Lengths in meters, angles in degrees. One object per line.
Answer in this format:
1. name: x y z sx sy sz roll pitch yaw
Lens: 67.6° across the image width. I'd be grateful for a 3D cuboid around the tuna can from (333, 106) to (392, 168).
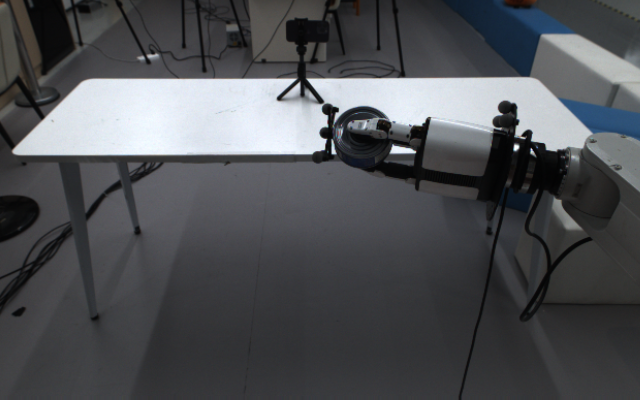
1. tuna can: 0.064 -0.088 0.690 0.085 0.034 0.085 -2 69 6
